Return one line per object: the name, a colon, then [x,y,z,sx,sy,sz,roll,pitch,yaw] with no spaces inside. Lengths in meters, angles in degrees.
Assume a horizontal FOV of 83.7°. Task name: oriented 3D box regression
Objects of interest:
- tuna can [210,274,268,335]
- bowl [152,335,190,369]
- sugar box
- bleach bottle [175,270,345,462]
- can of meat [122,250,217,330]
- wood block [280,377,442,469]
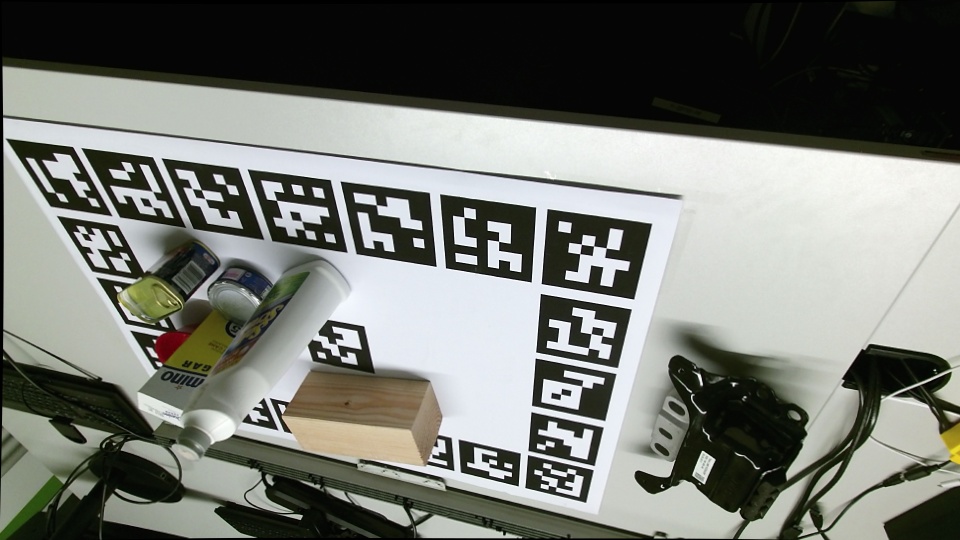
tuna can: [-0.325,0.048,0.729,0.086,0.033,0.086,8,127,11]
bowl: [-0.424,0.150,0.834,0.162,0.055,0.162,6,130,8]
sugar box: [-0.363,0.135,0.719,0.093,0.176,0.045,22,129,-5]
bleach bottle: [-0.254,0.107,0.615,0.103,0.250,0.068,-14,123,27]
can of meat: [-0.413,0.027,0.716,0.102,0.083,0.058,-18,124,31]
wood block: [-0.175,0.229,0.801,0.207,0.089,0.091,1,124,18]
